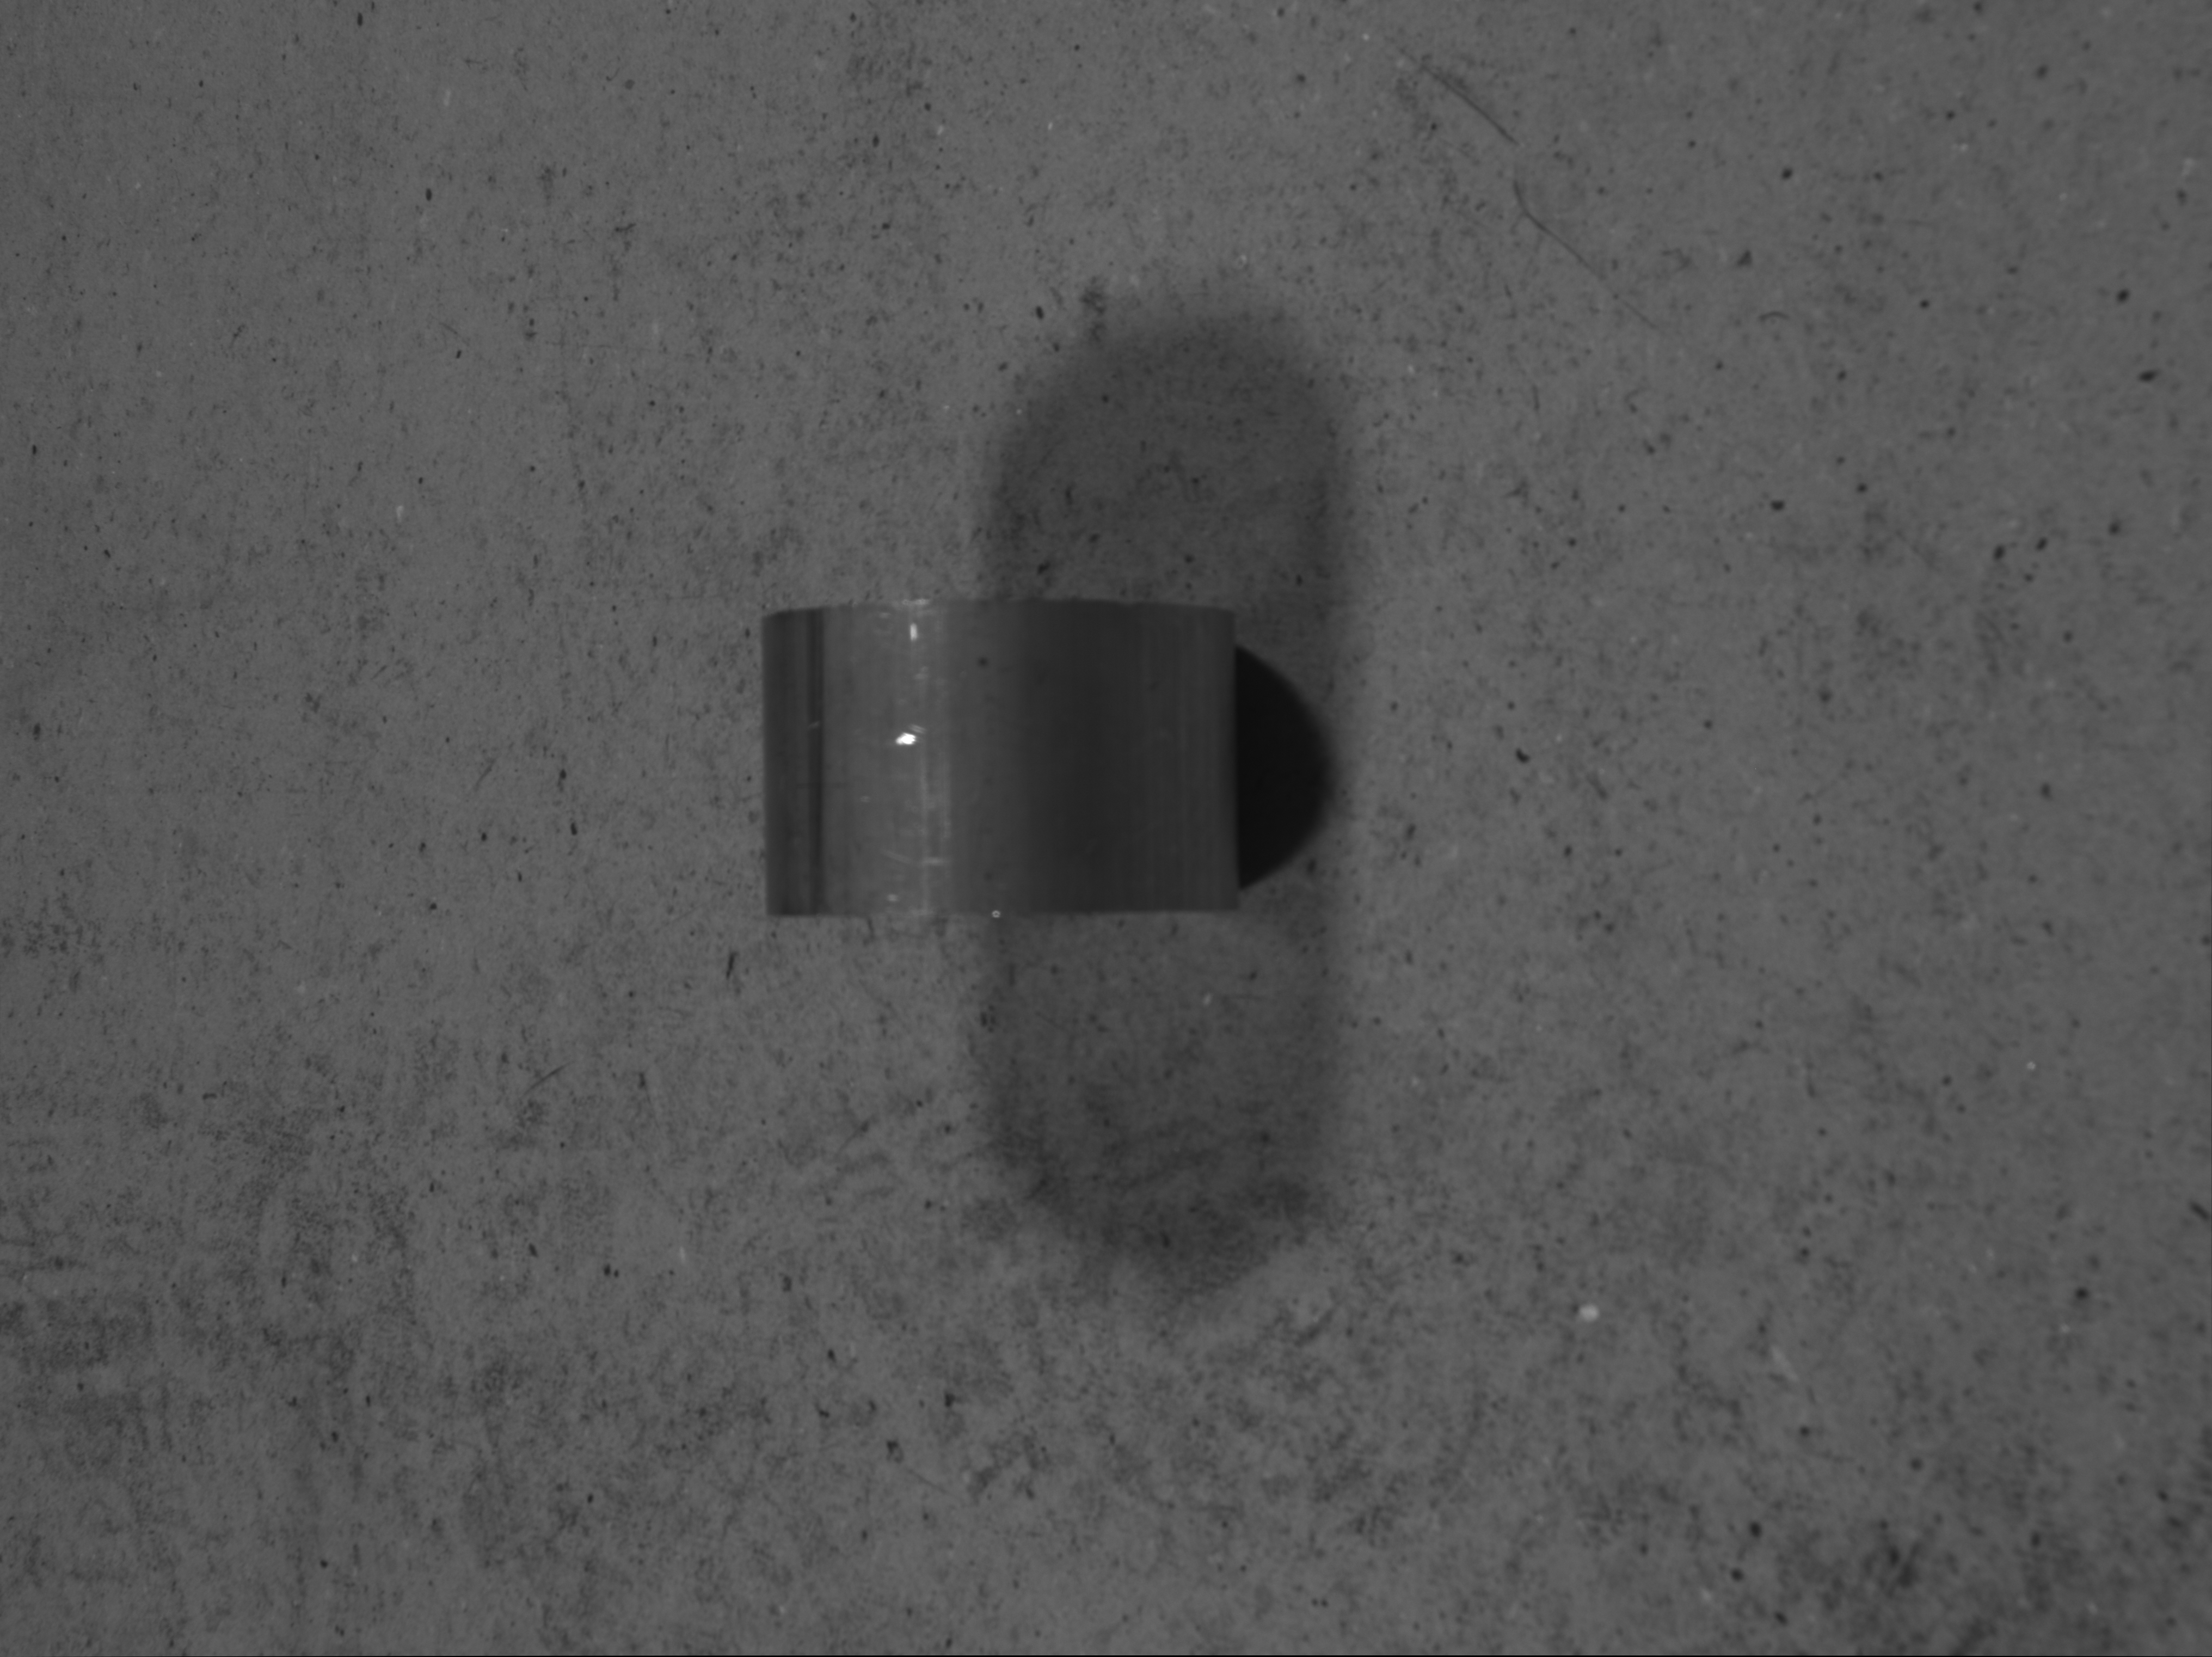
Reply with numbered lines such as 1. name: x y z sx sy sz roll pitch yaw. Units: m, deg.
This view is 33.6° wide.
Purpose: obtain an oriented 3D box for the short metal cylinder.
1. short metal cylinder: -0.021 -0.011 0.619 0.080 0.080 0.050 -1 89 39
